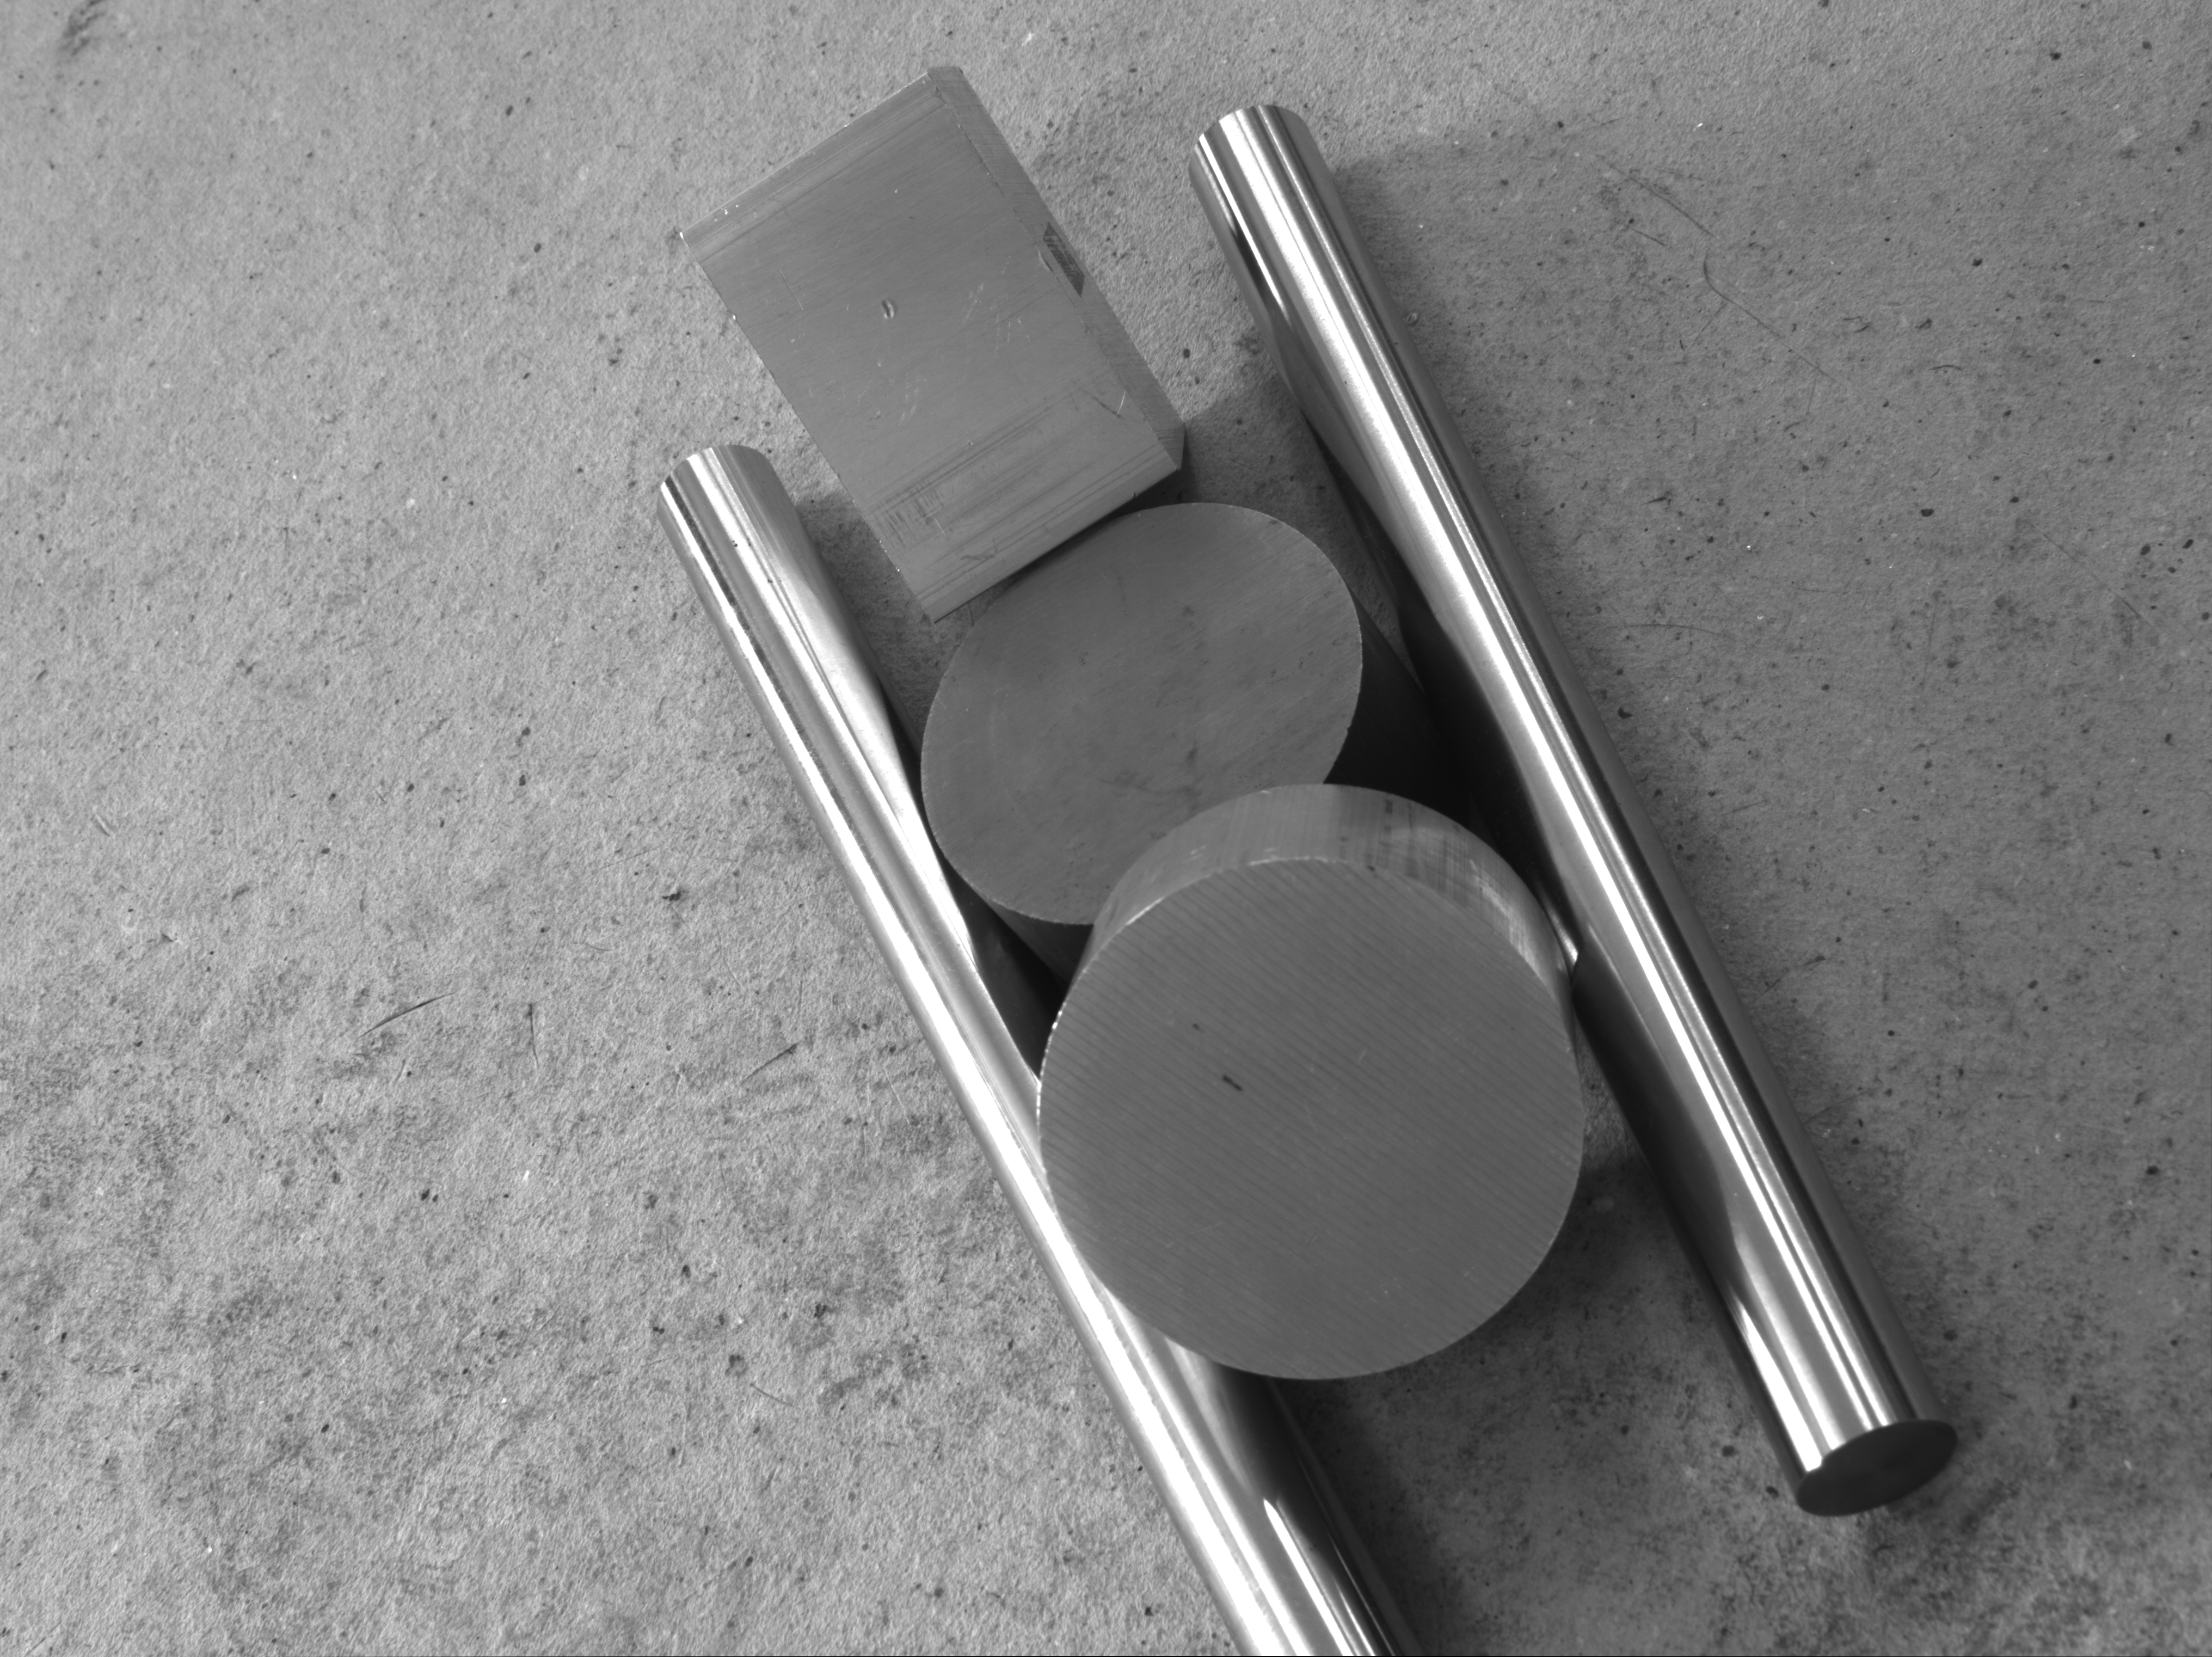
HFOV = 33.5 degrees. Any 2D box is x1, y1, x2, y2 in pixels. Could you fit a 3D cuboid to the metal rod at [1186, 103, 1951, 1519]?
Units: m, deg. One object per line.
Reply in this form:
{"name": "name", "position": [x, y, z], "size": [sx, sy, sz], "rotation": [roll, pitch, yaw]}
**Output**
{"name": "metal rod", "position": [0.069, -0.019, 0.620], "size": [0.025, 0.025, 0.300], "rotation": [-28, 52, 10]}

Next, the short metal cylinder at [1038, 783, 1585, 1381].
{"name": "short metal cylinder", "position": [0.032, 0.038, 0.562], "size": [0.080, 0.080, 0.050], "rotation": [-28, 9, 11]}

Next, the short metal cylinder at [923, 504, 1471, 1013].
{"name": "short metal cylinder", "position": [0.016, -0.008, 0.626], "size": [0.080, 0.050, 0.080], "rotation": [-14, 56, 21]}

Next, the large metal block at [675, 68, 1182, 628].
{"name": "large metal block", "position": [-0.029, -0.089, 0.661], "size": [0.050, 0.080, 0.080], "rotation": [-32, 10, 8]}

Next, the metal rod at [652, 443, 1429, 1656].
{"name": "metal rod", "position": [-0.019, 0.034, 0.635], "size": [0.025, 0.025, 0.299], "rotation": [-35, 51, 5]}
